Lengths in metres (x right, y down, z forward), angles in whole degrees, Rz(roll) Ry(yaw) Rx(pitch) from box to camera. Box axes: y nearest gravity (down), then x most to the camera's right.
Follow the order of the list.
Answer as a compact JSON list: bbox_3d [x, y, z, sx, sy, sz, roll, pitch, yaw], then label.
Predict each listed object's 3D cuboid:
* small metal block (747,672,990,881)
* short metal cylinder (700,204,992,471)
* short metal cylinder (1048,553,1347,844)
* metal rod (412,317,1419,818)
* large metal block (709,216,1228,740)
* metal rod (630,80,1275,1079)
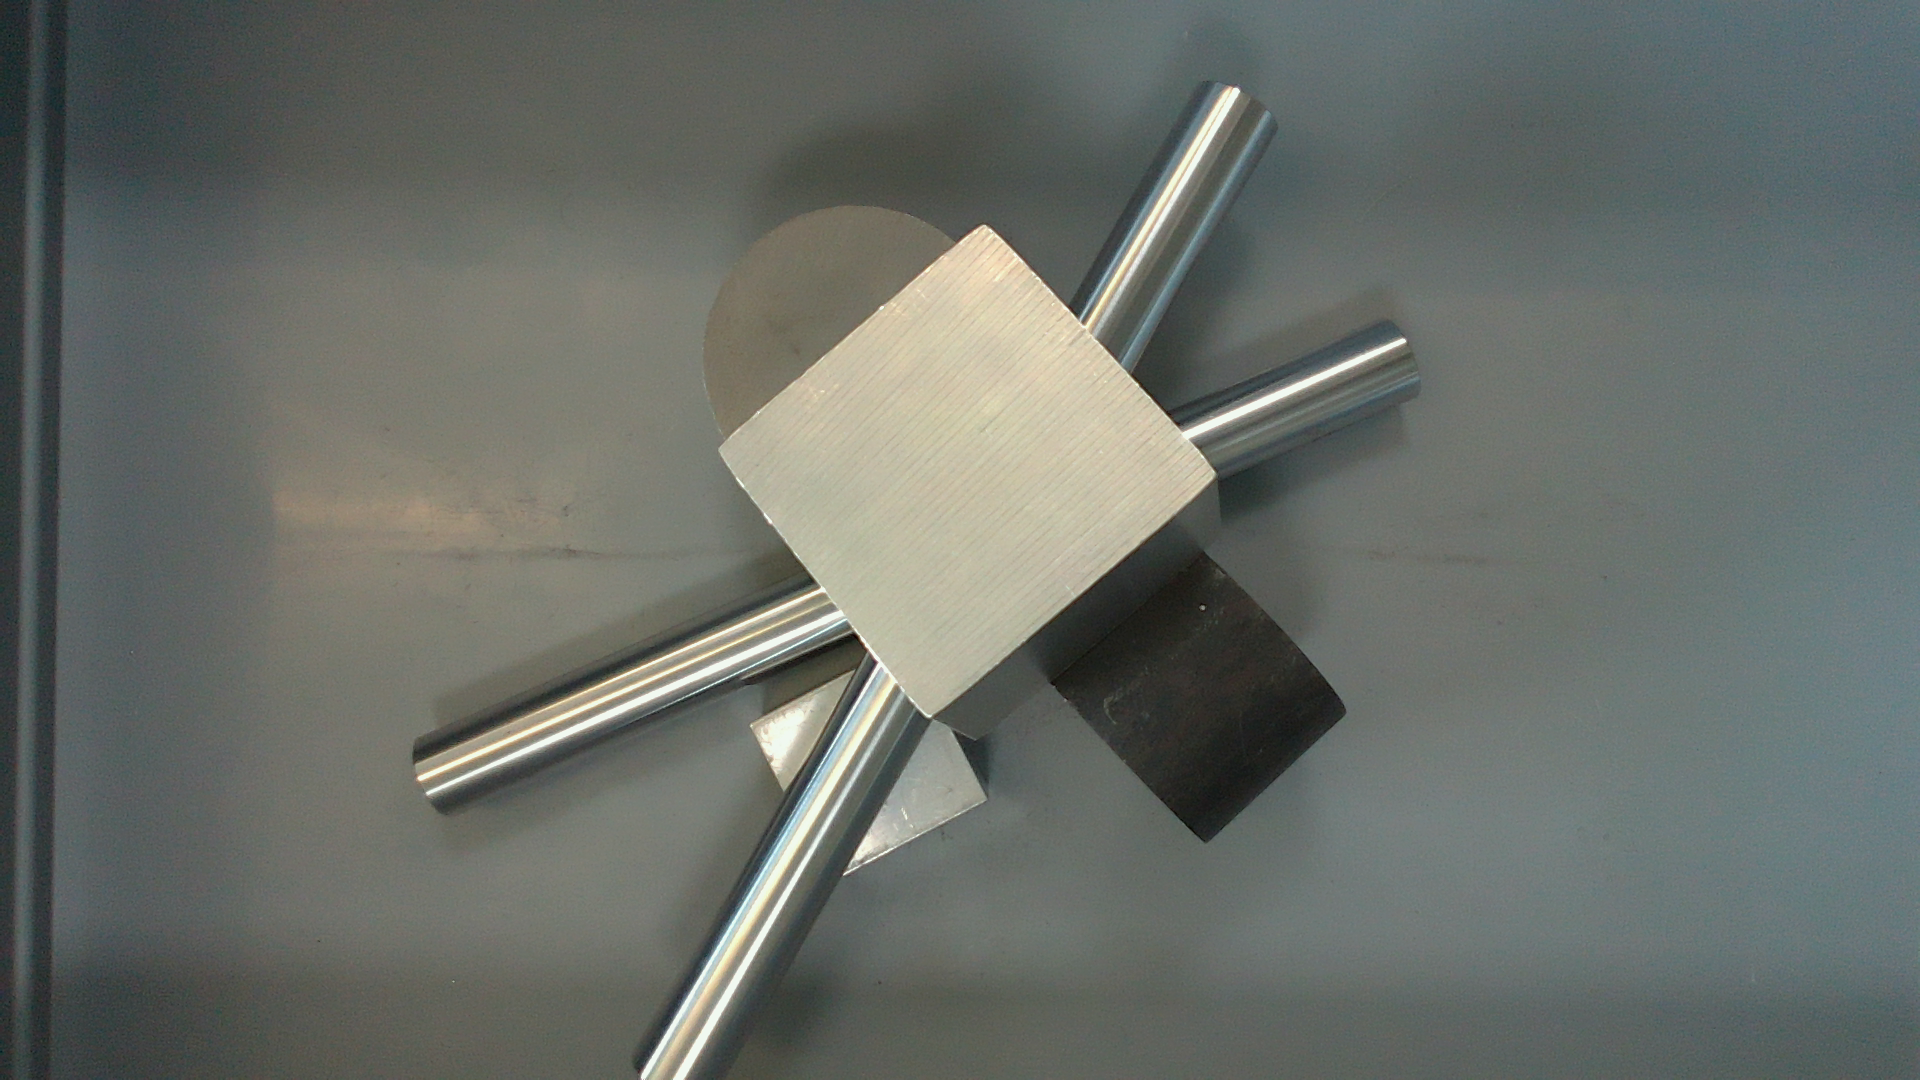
[{"bbox_3d":[-0.025,0.062,0.394,0.050,0.025,0.050,-28,90,0],"label":"small metal block"},{"bbox_3d":[-0.027,-0.047,0.381,0.080,0.050,0.080,0,90,0],"label":"short metal cylinder"},{"bbox_3d":[0.056,0.034,0.367,0.050,0.080,0.080,-43,90,1],"label":"short metal cylinder"},{"bbox_3d":[-0.012,0.008,0.394,0.300,0.025,0.025,-24,90,0],"label":"metal rod"},{"bbox_3d":[0.004,-0.012,0.318,0.080,0.050,0.080,-40,73,1],"label":"large metal block"},{"bbox_3d":[-0.002,0.014,0.370,0.025,0.025,0.300,30,90,0],"label":"metal rod"}]
